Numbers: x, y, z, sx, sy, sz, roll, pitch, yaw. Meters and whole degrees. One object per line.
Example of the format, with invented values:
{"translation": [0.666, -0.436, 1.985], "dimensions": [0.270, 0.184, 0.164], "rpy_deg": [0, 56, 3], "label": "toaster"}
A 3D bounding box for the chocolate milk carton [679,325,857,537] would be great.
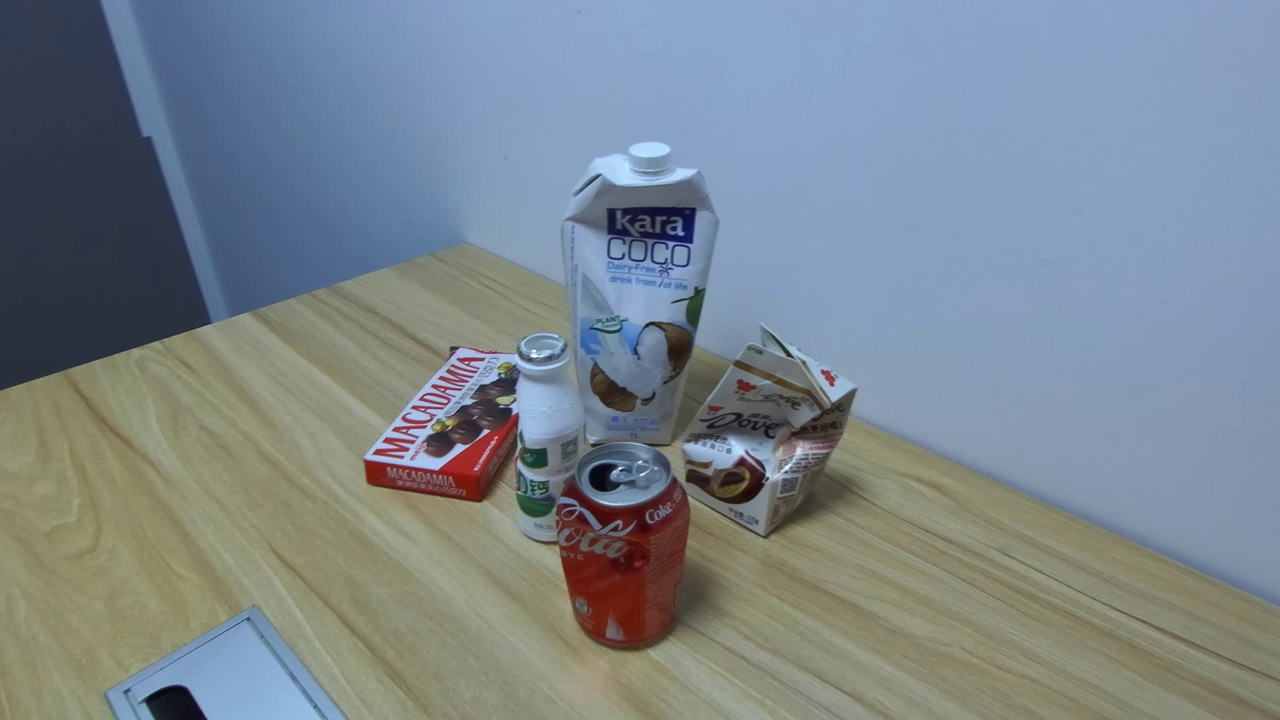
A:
{"translation": [0.089, 0.046, 0.489], "dimensions": [0.089, 0.155, 0.077], "rpy_deg": [34, 47, 21], "label": "chocolate milk carton"}

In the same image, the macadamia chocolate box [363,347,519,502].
{"translation": [-0.143, 0.044, 0.597], "dimensions": [0.105, 0.028, 0.183], "rpy_deg": [7, 32, 8], "label": "macadamia chocolate box"}

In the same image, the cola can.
{"translation": [-0.008, 0.107, 0.413], "dimensions": [0.065, 0.117, 0.066], "rpy_deg": [22, 37, 31], "label": "cola can"}

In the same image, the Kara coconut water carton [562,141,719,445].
{"translation": [-0.003, -0.046, 0.544], "dimensions": [0.115, 0.238, 0.069], "rpy_deg": [1, 30, -4], "label": "Kara coconut water carton"}

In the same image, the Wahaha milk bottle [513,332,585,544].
{"translation": [-0.061, 0.052, 0.468], "dimensions": [0.056, 0.148, 0.056], "rpy_deg": [1, 33, -1], "label": "Wahaha milk bottle"}
